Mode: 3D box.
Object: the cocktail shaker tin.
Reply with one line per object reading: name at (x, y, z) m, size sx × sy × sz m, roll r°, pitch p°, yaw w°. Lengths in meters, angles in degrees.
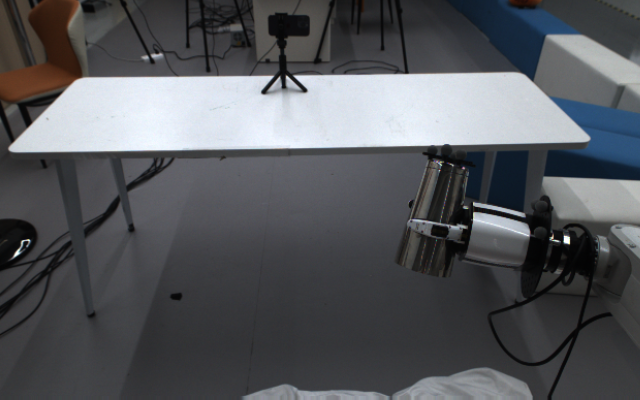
cocktail shaker tin at (0.184, 0.026, 0.769) m, size 0.093 × 0.170 × 0.093 m, roll 13°, pitch 4°, yaw -1°
